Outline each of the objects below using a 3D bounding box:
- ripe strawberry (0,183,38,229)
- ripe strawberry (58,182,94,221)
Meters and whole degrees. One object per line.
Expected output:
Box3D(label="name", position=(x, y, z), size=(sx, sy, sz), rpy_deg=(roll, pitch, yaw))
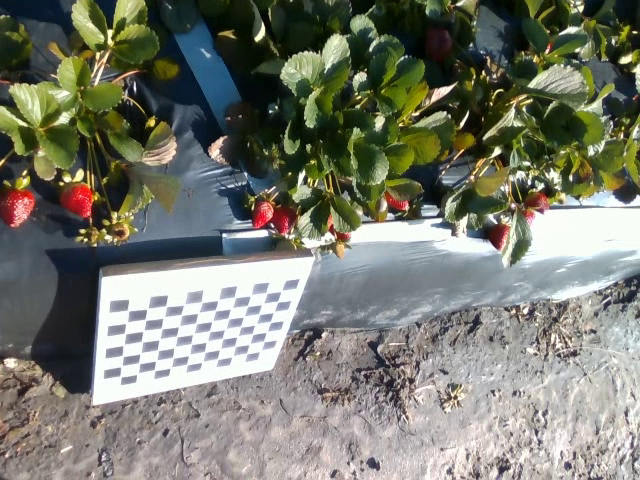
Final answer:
Box3D(label="ripe strawberry", position=(-0.357, -0.033, 0.726), size=(0.050, 0.050, 0.044), rpy_deg=(9, -27, -40))
Box3D(label="ripe strawberry", position=(-0.292, -0.044, 0.760), size=(0.042, 0.049, 0.039), rpy_deg=(-31, -10, 9))
